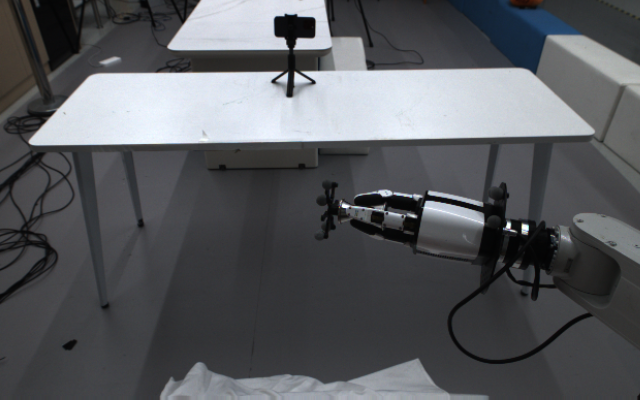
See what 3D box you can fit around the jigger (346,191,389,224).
[{"bbox_3d":[0.071,0.017,0.725,0.071,0.043,0.043,6,35,15],"label":"jigger"}]
